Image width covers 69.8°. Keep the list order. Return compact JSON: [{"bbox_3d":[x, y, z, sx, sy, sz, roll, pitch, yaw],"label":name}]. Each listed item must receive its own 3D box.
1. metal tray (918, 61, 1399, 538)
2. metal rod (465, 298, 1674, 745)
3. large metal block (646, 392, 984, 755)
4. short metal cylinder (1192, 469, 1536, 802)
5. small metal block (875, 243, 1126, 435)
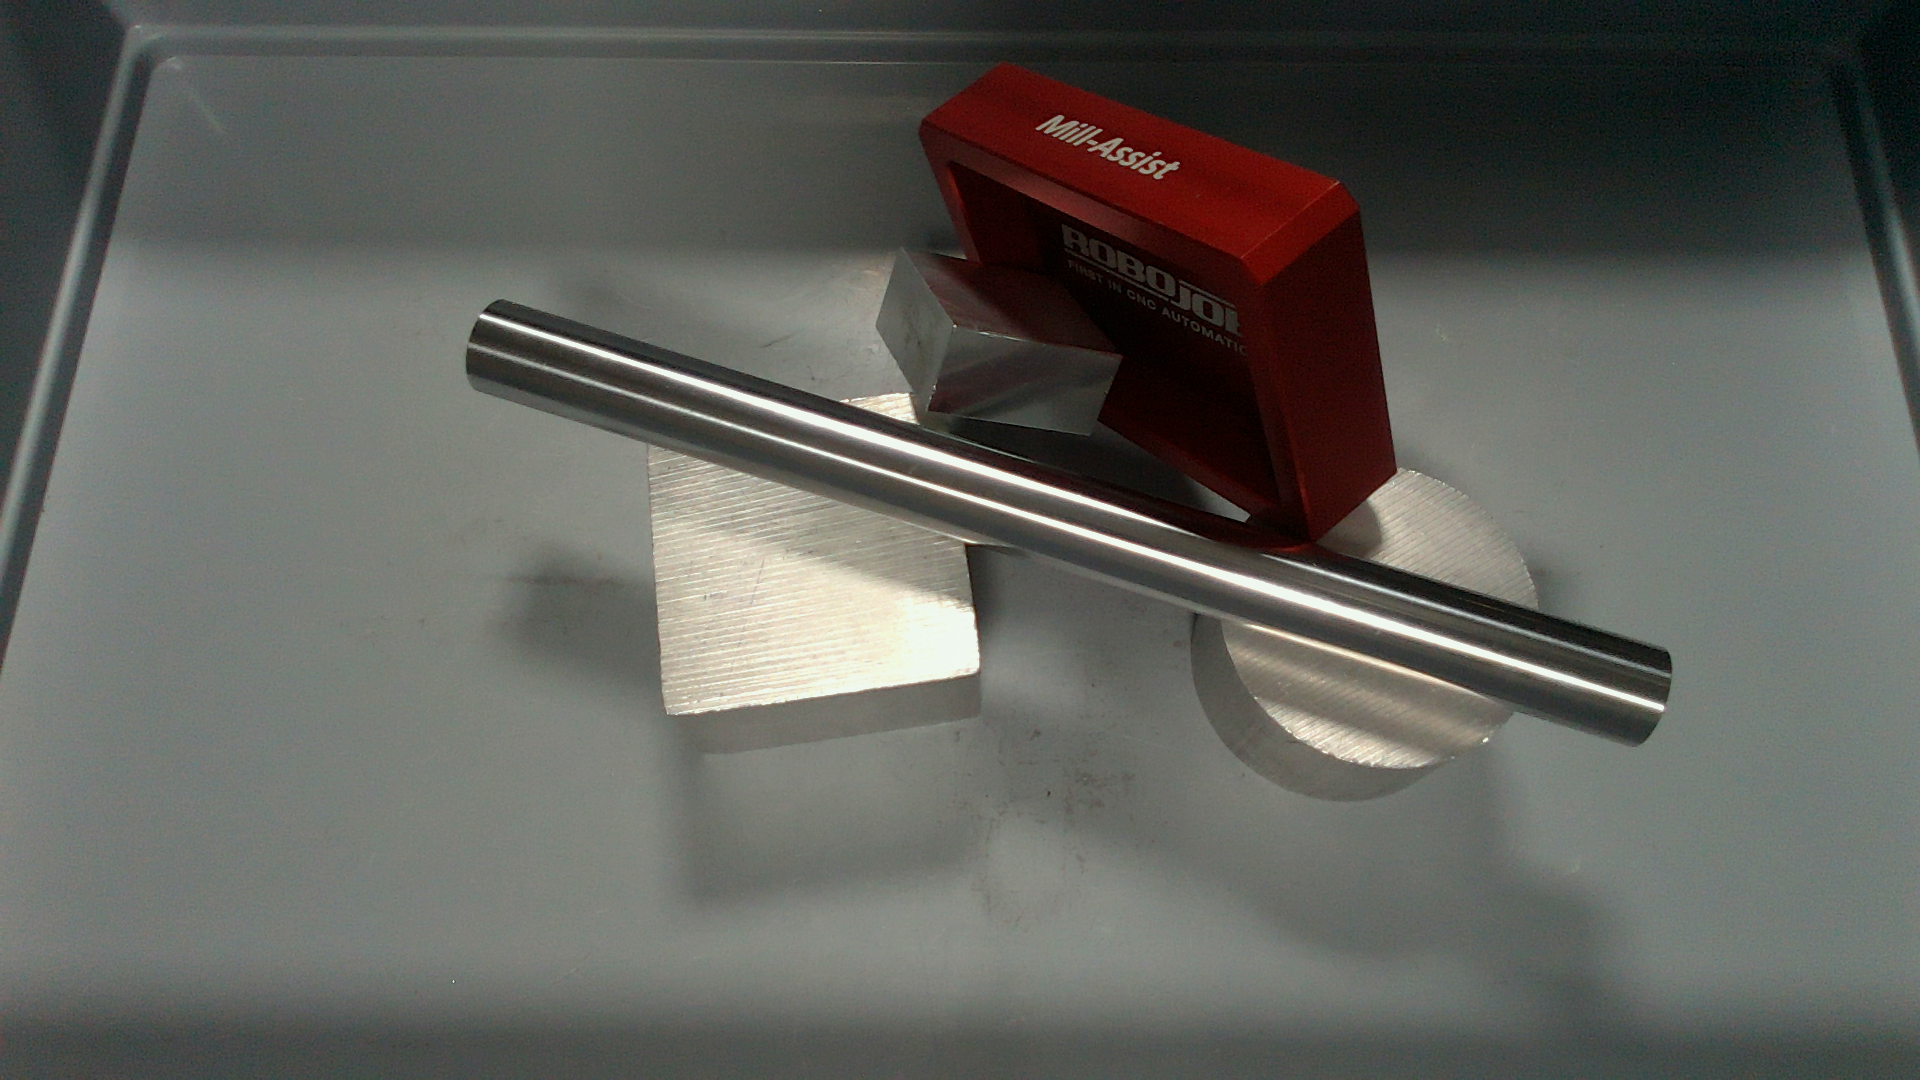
[{"bbox_3d":[0.049,-0.064,0.356,0.030,0.090,0.130,-39,45,-14],"label":"metal tray"},{"bbox_3d":[0.021,-0.007,0.342,0.300,0.025,0.025,17,71,6],"label":"metal rod"},{"bbox_3d":[-0.039,0.010,0.377,0.080,0.050,0.080,-7,70,-3],"label":"large metal block"},{"bbox_3d":[0.106,0.026,0.371,0.080,0.050,0.080,0,70,0],"label":"short metal cylinder"},{"bbox_3d":[0.010,-0.055,0.378,0.050,0.025,0.050,6,32,-26],"label":"small metal block"}]
